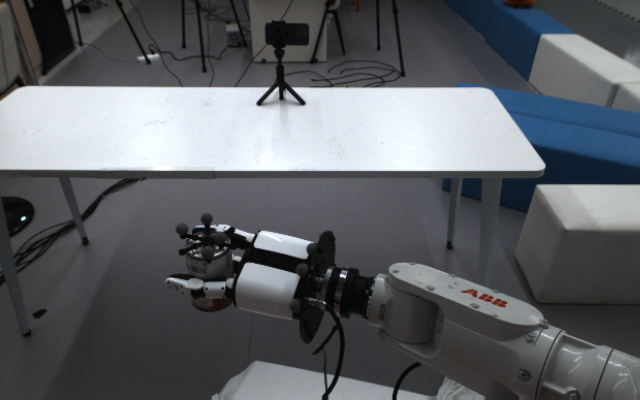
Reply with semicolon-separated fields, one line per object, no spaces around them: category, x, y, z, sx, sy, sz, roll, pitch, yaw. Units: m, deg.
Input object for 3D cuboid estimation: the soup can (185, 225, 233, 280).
soup can;-0.159;0.108;0.711;0.067;0.101;0.067;2;32;-1
